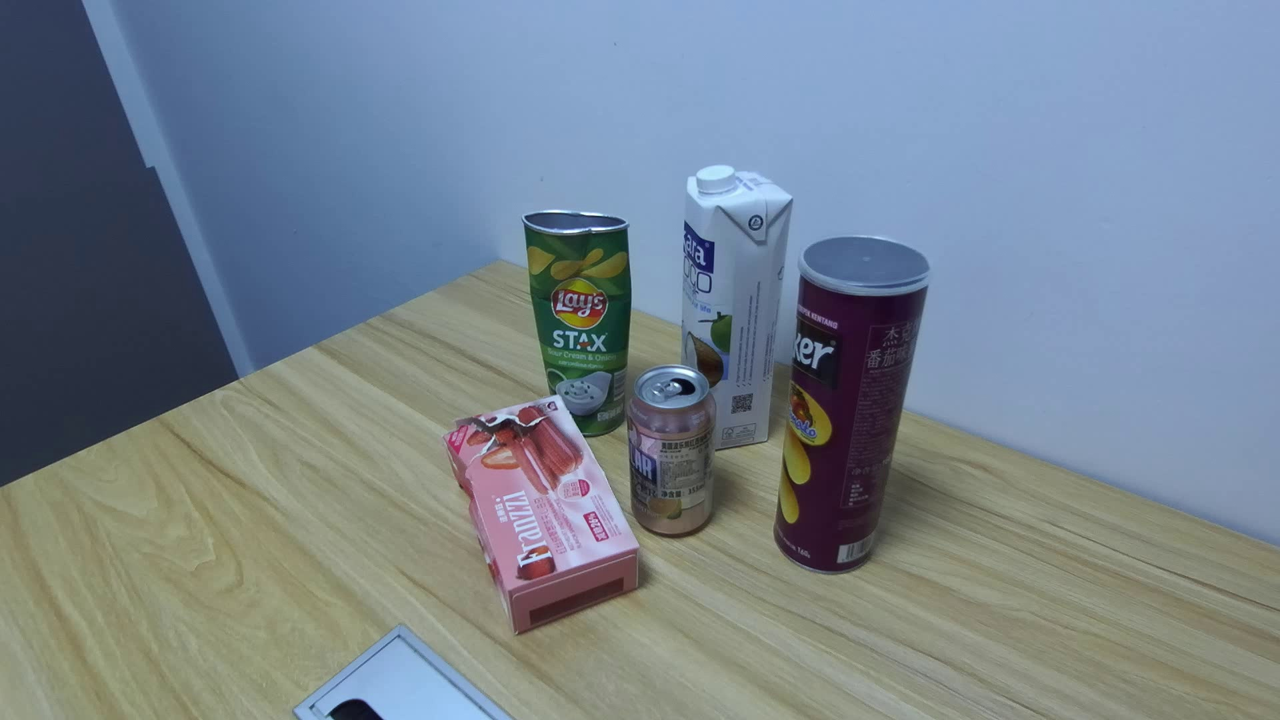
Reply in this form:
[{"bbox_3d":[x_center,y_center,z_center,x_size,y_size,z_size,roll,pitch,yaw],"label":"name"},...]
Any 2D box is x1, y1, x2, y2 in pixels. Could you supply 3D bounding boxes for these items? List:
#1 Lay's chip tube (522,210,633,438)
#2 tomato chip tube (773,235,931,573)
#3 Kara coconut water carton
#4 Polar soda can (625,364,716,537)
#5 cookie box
[{"bbox_3d":[-0.050,-0.030,0.629,0.075,0.200,0.068,-14,34,-19],"label":"Lay's chip tube"},{"bbox_3d":[0.138,0.039,0.481,0.078,0.234,0.078,-2,34,2],"label":"tomato chip tube"},{"bbox_3d":[0.077,-0.041,0.596,0.075,0.245,0.077,-8,33,-12],"label":"Kara coconut water carton"},{"bbox_3d":[0.025,0.071,0.543,0.067,0.126,0.067,-2,31,1],"label":"Polar soda can"},{"bbox_3d":[-0.078,0.108,0.547,0.105,0.059,0.185,-18,37,-19],"label":"cookie box"}]
